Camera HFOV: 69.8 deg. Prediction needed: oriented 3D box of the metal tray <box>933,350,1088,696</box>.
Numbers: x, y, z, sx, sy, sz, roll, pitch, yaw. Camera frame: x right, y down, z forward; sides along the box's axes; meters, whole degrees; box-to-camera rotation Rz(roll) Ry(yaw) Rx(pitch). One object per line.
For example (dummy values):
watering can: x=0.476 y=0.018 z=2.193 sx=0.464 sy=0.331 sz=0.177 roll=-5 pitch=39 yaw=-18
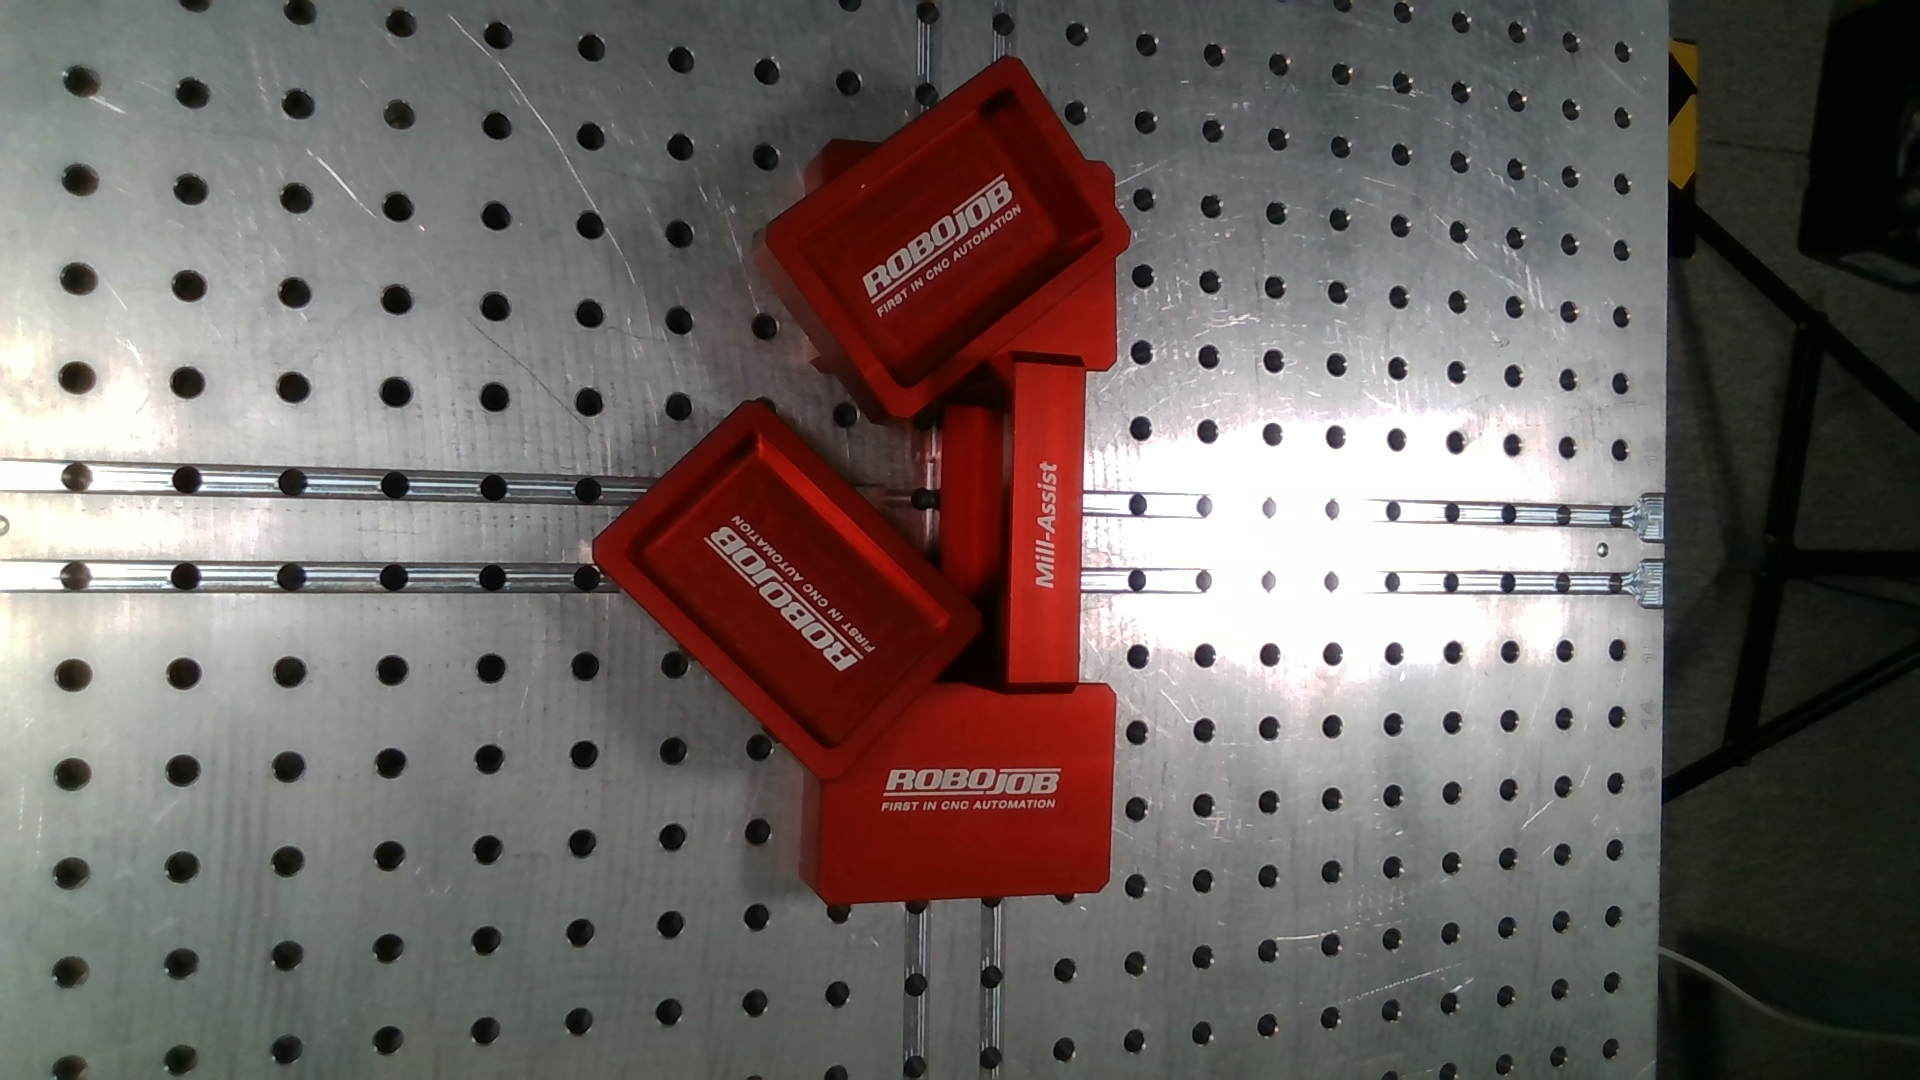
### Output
metal tray: x=0.018 y=-0.006 z=0.559 sx=0.030 sy=0.090 sz=0.130 roll=1 pitch=90 yaw=-20

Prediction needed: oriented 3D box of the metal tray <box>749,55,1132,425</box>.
metal tray: x=-0.006 y=-0.119 z=0.549 sx=0.130 sy=0.030 sz=0.090 roll=-40 pitch=103 yaw=-15

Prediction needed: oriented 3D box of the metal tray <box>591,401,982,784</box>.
metal tray: x=-0.067 y=0.021 z=0.541 sx=0.130 sy=0.030 sz=0.090 roll=44 pitch=76 yaw=3

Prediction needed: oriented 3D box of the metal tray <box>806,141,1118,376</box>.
metal tray: x=0.002 y=-0.116 z=0.586 sx=0.130 sy=0.030 sz=0.090 roll=-1 pitch=90 yaw=-20

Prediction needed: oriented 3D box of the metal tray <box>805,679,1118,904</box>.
metal tray: x=0.001 y=0.104 z=0.585 sx=0.130 sy=0.030 sz=0.090 roll=3 pitch=89 yaw=-20
